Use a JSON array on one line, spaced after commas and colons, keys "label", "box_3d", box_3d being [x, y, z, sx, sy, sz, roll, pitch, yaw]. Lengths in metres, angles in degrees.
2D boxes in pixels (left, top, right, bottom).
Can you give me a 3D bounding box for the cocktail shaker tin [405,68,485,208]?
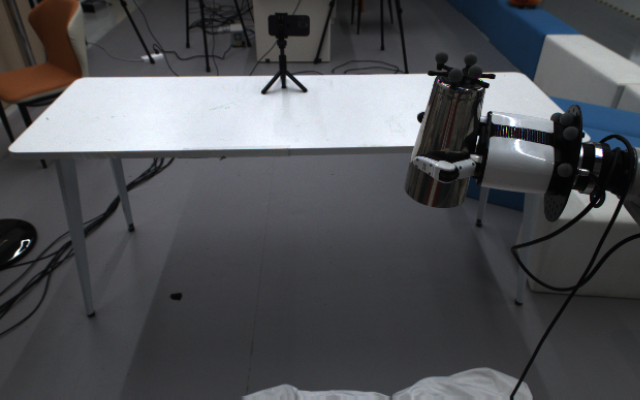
[{"label": "cocktail shaker tin", "box_3d": [0.179, -0.086, 0.678, 0.093, 0.170, 0.093, 3, 34, -2]}]
